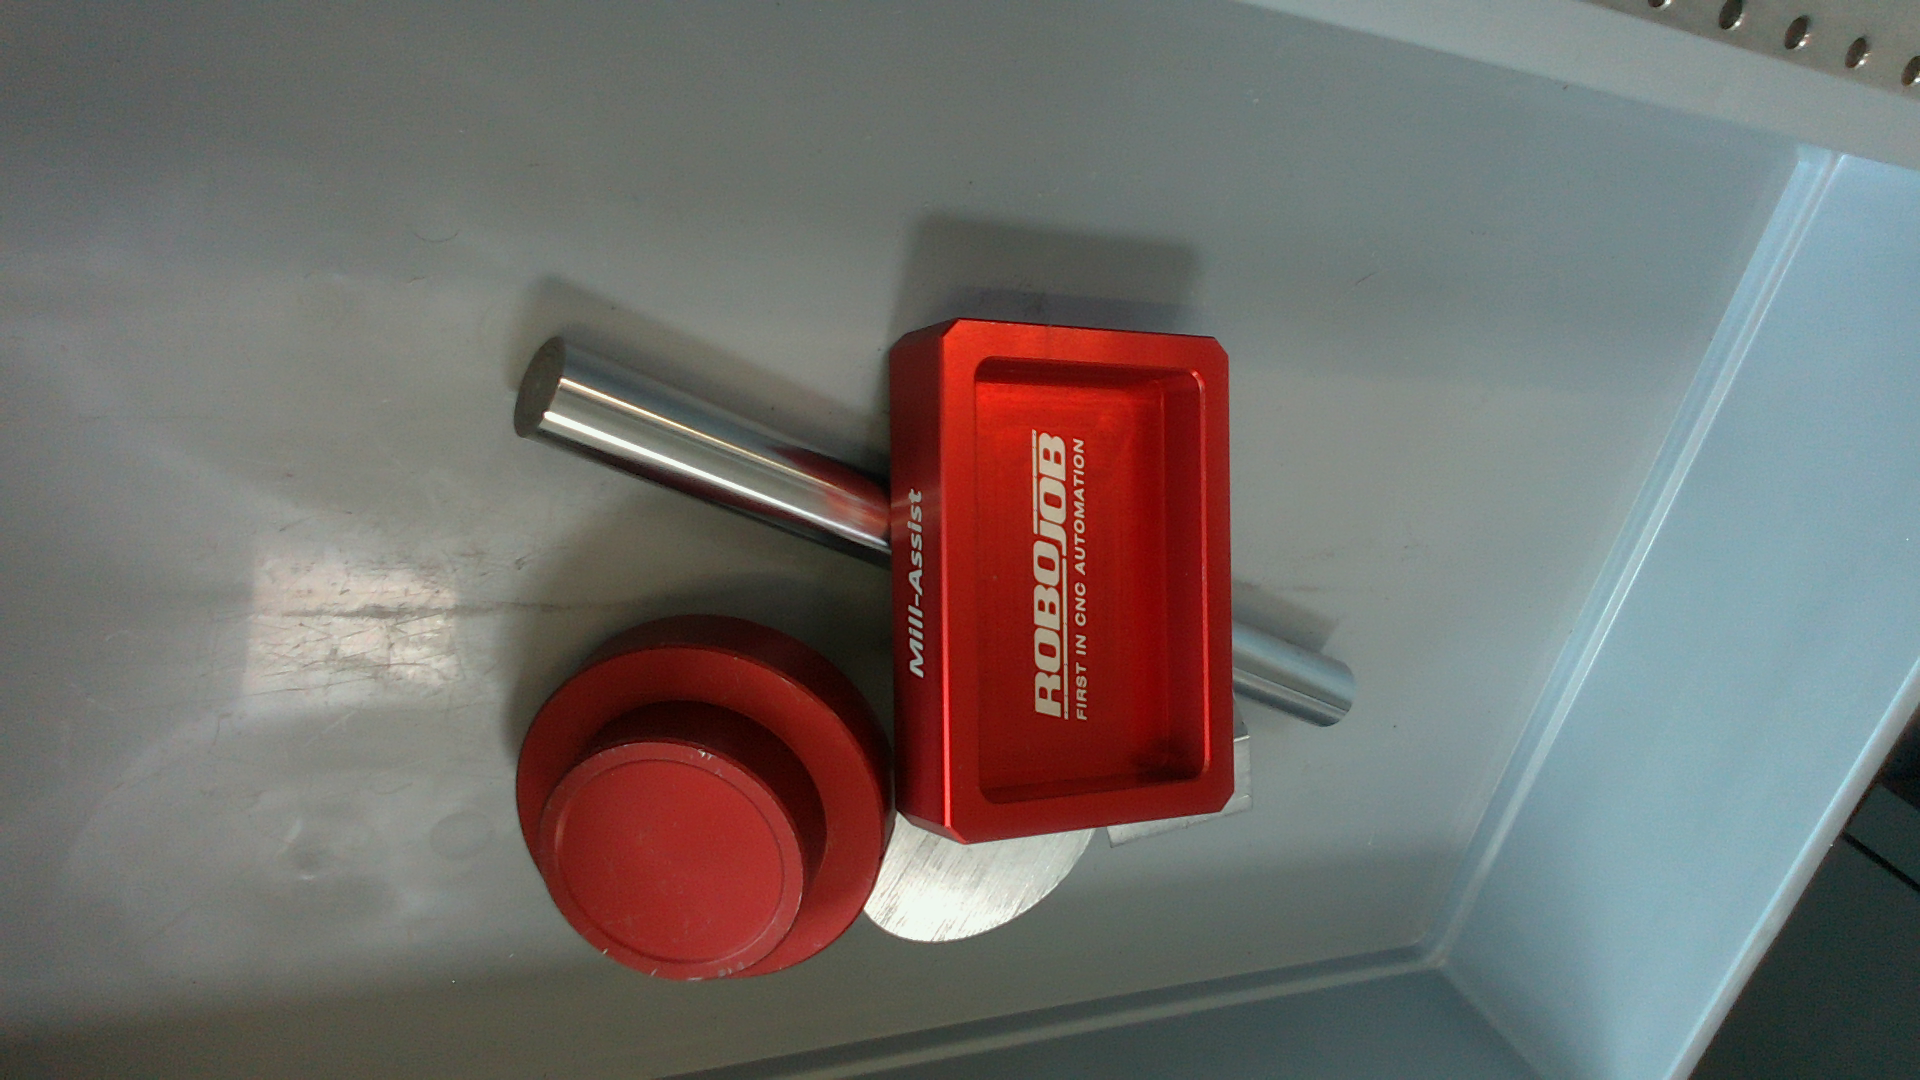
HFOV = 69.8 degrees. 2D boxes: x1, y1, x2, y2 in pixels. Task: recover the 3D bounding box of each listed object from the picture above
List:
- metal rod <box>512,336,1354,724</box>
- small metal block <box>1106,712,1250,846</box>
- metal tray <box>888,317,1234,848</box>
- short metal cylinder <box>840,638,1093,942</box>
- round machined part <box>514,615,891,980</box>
[{"bbox_3d":[0.017,0.010,0.402,0.301,0.025,0.025,21,107,-36],"label":"metal rod"},{"bbox_3d":[0.068,0.073,0.455,0.050,0.025,0.050,-16,142,0],"label":"small metal block"},{"bbox_3d":[0.028,0.010,0.368,0.090,0.030,0.130,-1,90,-29],"label":"metal tray"},{"bbox_3d":[-0.004,0.072,0.414,0.080,0.050,0.080,-14,124,-21],"label":"short metal cylinder"},{"bbox_3d":[-0.068,0.072,0.354,0.098,0.042,0.098,2,110,6],"label":"round machined part"}]
